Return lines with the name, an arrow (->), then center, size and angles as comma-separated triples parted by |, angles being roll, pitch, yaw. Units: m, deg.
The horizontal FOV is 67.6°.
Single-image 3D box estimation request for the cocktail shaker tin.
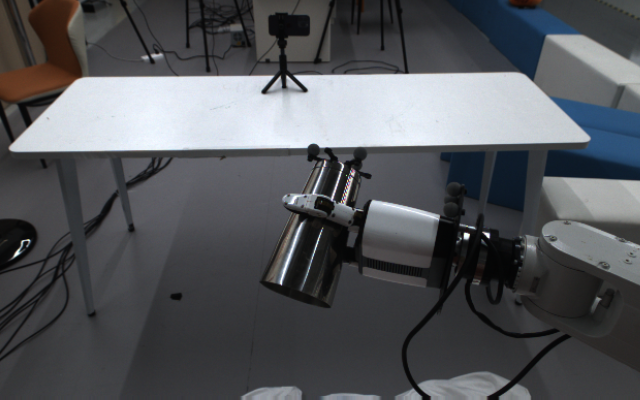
cocktail shaker tin -> -0.004, 0.038, 0.608 | 0.093, 0.093, 0.170 | 14, 70, 16
